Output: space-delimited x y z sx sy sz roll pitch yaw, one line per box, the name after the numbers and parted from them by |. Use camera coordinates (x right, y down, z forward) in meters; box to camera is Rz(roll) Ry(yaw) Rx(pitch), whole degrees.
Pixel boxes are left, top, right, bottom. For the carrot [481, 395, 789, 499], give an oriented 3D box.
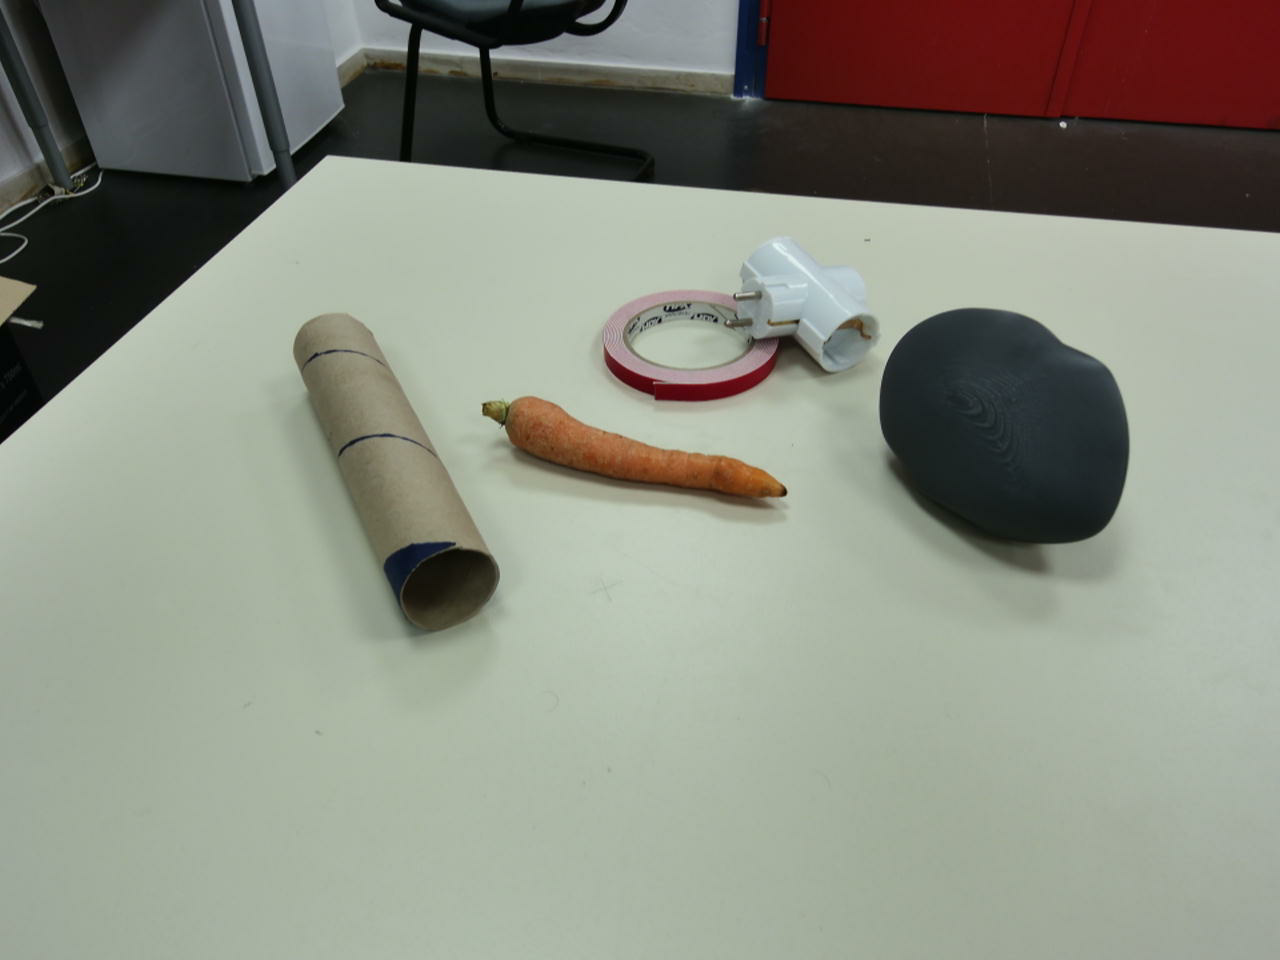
-0.006 -0.016 0.532 0.173 0.032 0.030 14 41 17 | carrot
